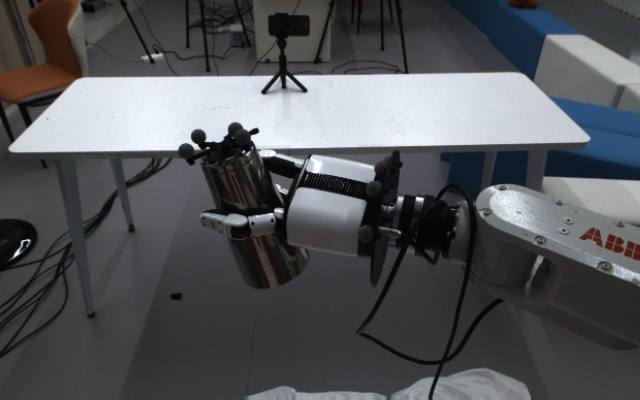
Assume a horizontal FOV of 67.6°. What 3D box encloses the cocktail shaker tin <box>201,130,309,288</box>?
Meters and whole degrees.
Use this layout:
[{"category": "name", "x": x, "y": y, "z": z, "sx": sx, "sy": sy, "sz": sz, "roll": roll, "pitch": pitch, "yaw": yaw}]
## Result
[{"category": "cocktail shaker tin", "x": -0.081, "y": 0.015, "z": 0.594, "sx": 0.093, "sy": 0.170, "sz": 0.093, "roll": -15, "pitch": 29, "yaw": 8}]
